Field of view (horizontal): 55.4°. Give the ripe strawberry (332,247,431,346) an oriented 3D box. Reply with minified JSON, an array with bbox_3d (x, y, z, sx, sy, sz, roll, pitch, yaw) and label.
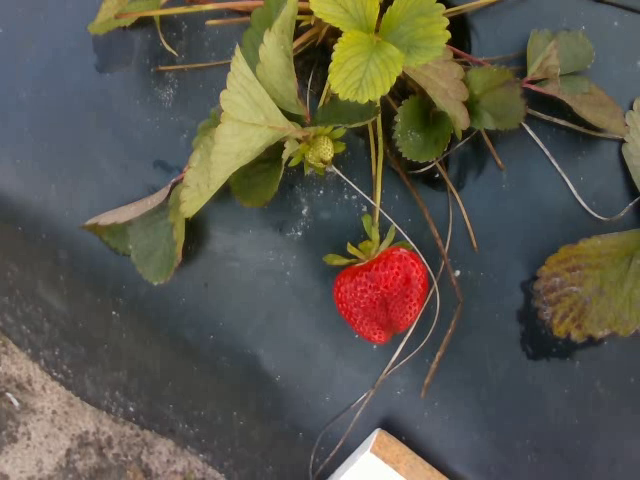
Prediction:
[{"bbox_3d":[0.008,0.009,0.084,0.017,0.015,0.013,-30,-37,32],"label":"ripe strawberry"}]
